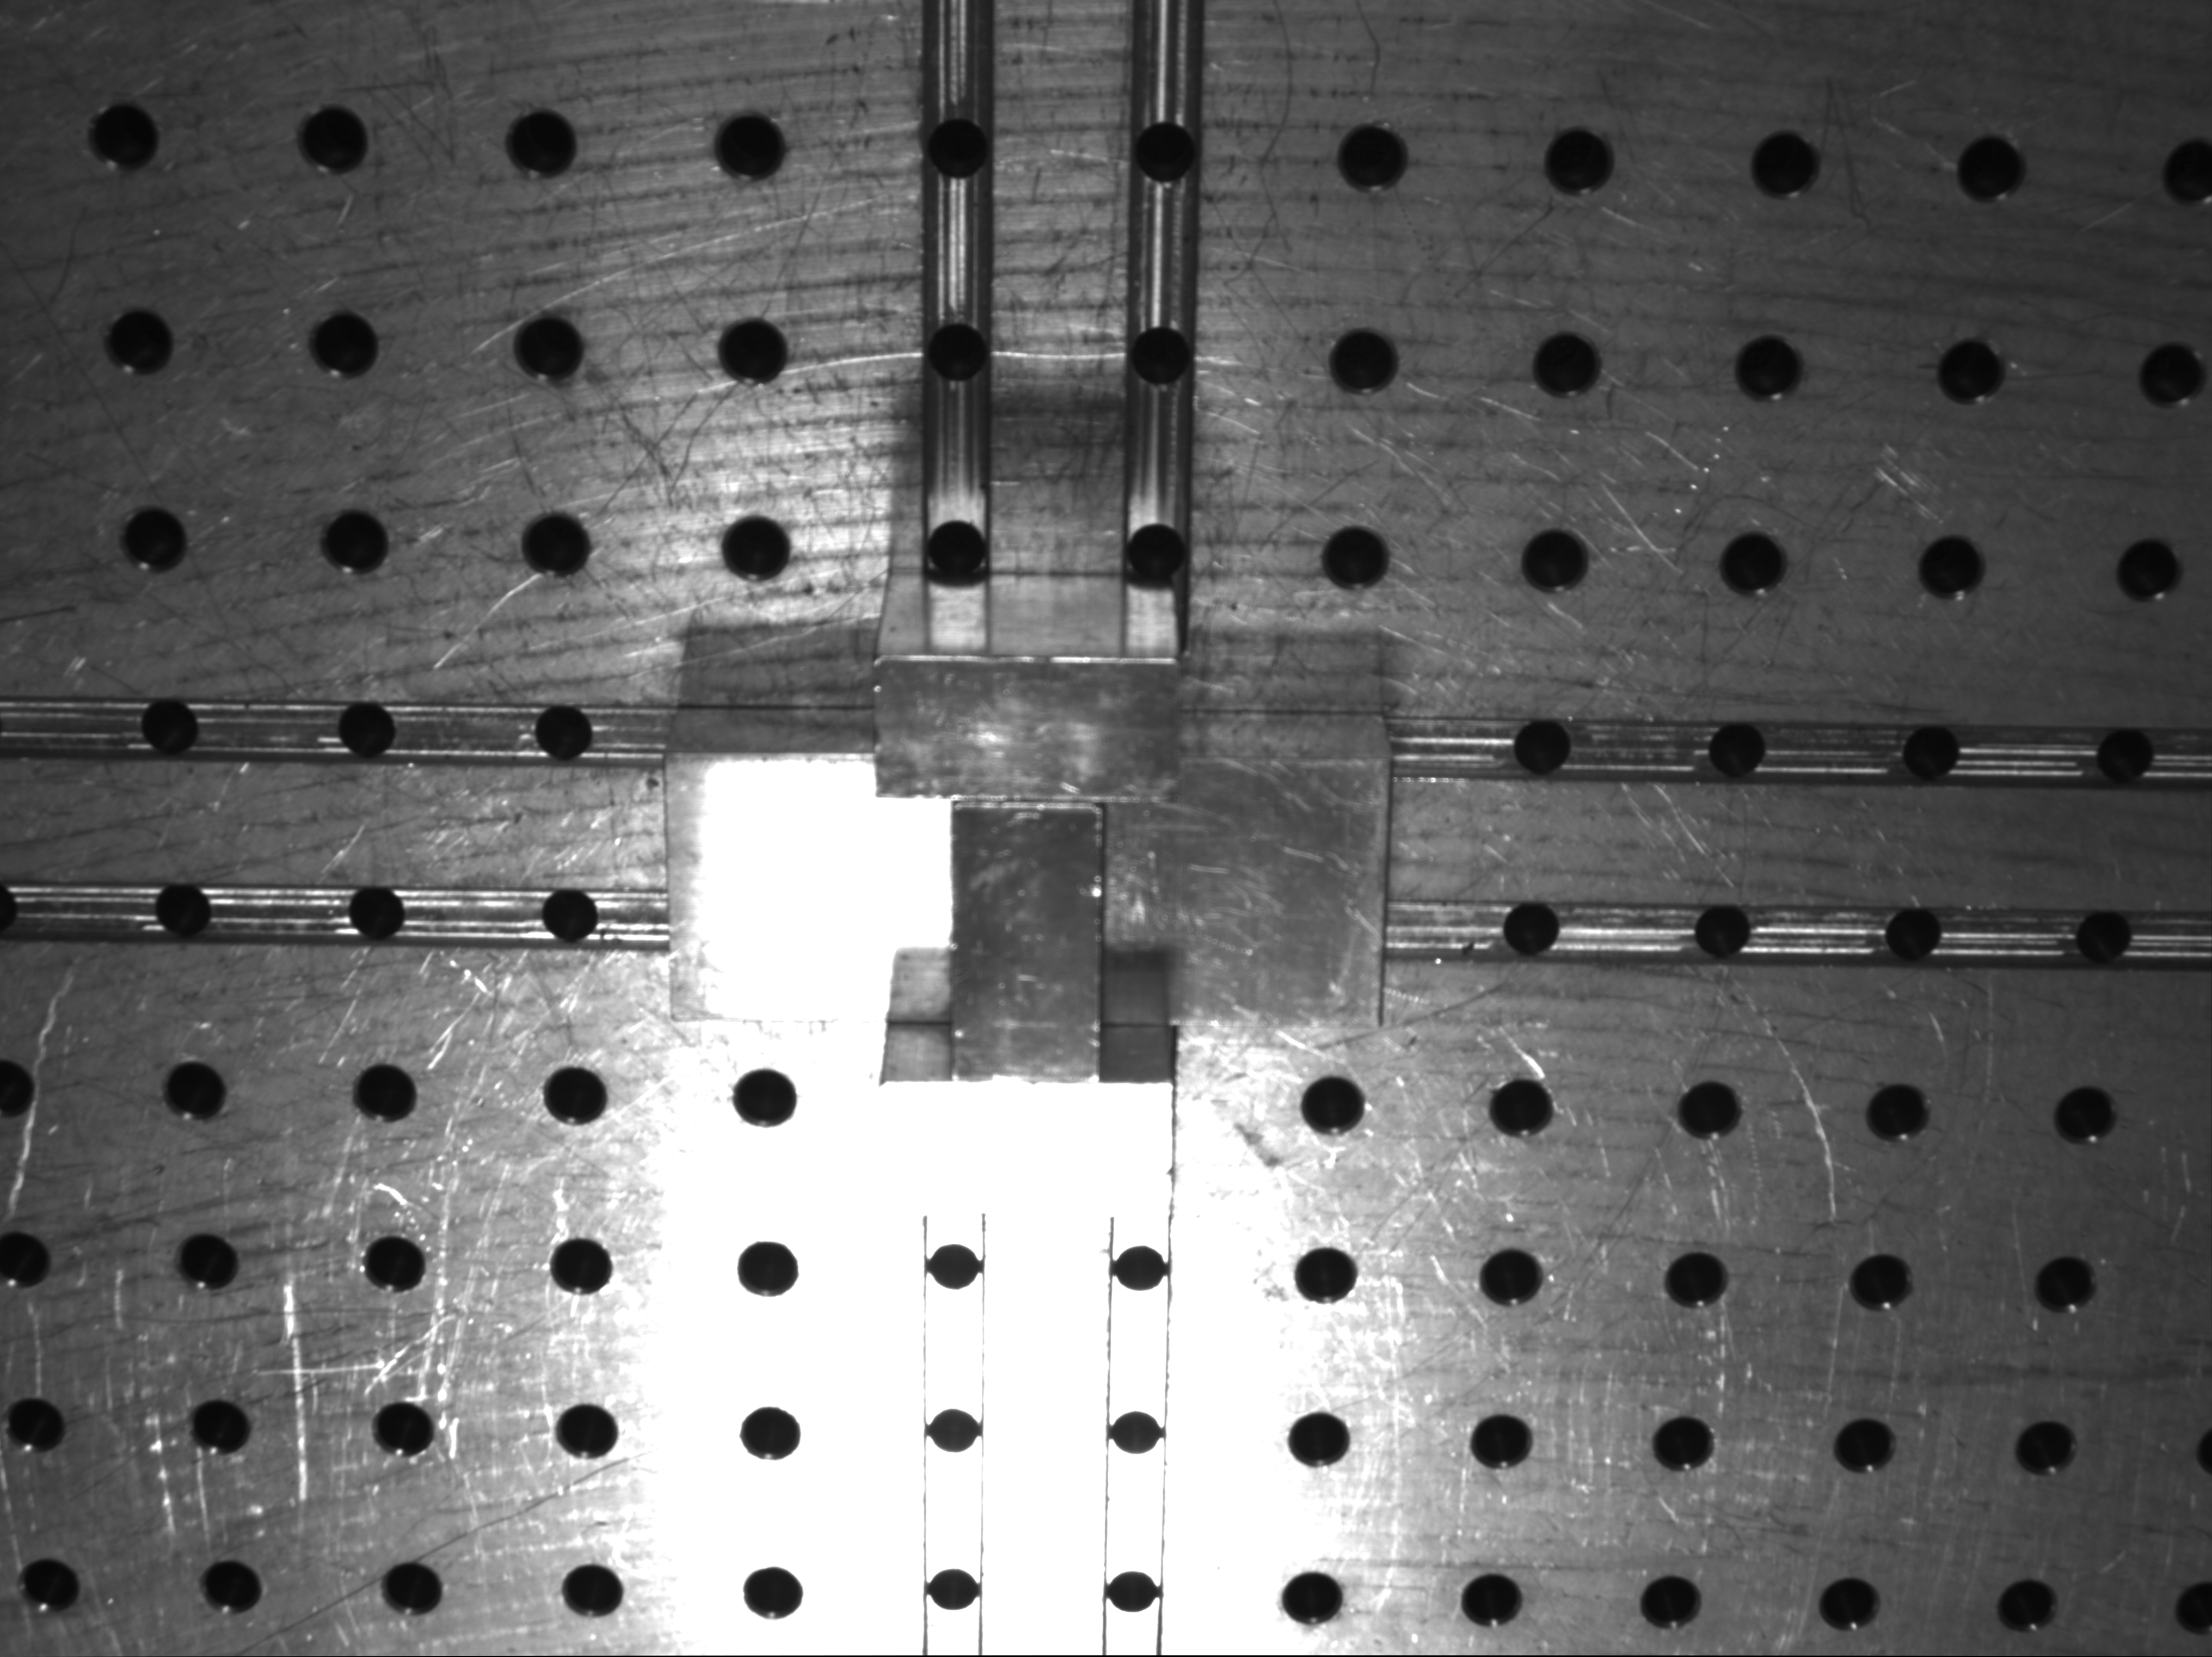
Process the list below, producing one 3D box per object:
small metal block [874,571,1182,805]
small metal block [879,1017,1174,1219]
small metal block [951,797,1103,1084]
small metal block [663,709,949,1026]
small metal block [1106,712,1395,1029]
[{"bbox_3d":[-0.013,-0.025,0.623,0.050,0.050,0.025,1,110,-1],"label":"small metal block"},{"bbox_3d":[-0.014,0.047,0.649,0.050,0.050,0.025,1,110,-1],"label":"small metal block"},{"bbox_3d":[-0.013,0.011,0.636,0.025,0.050,0.050,1,110,-1],"label":"small metal block"},{"bbox_3d":[-0.051,0.007,0.647,0.050,0.025,0.050,0,110,-1],"label":"small metal block"},{"bbox_3d":[0.024,0.007,0.648,0.050,0.025,0.050,1,110,-1],"label":"small metal block"}]
